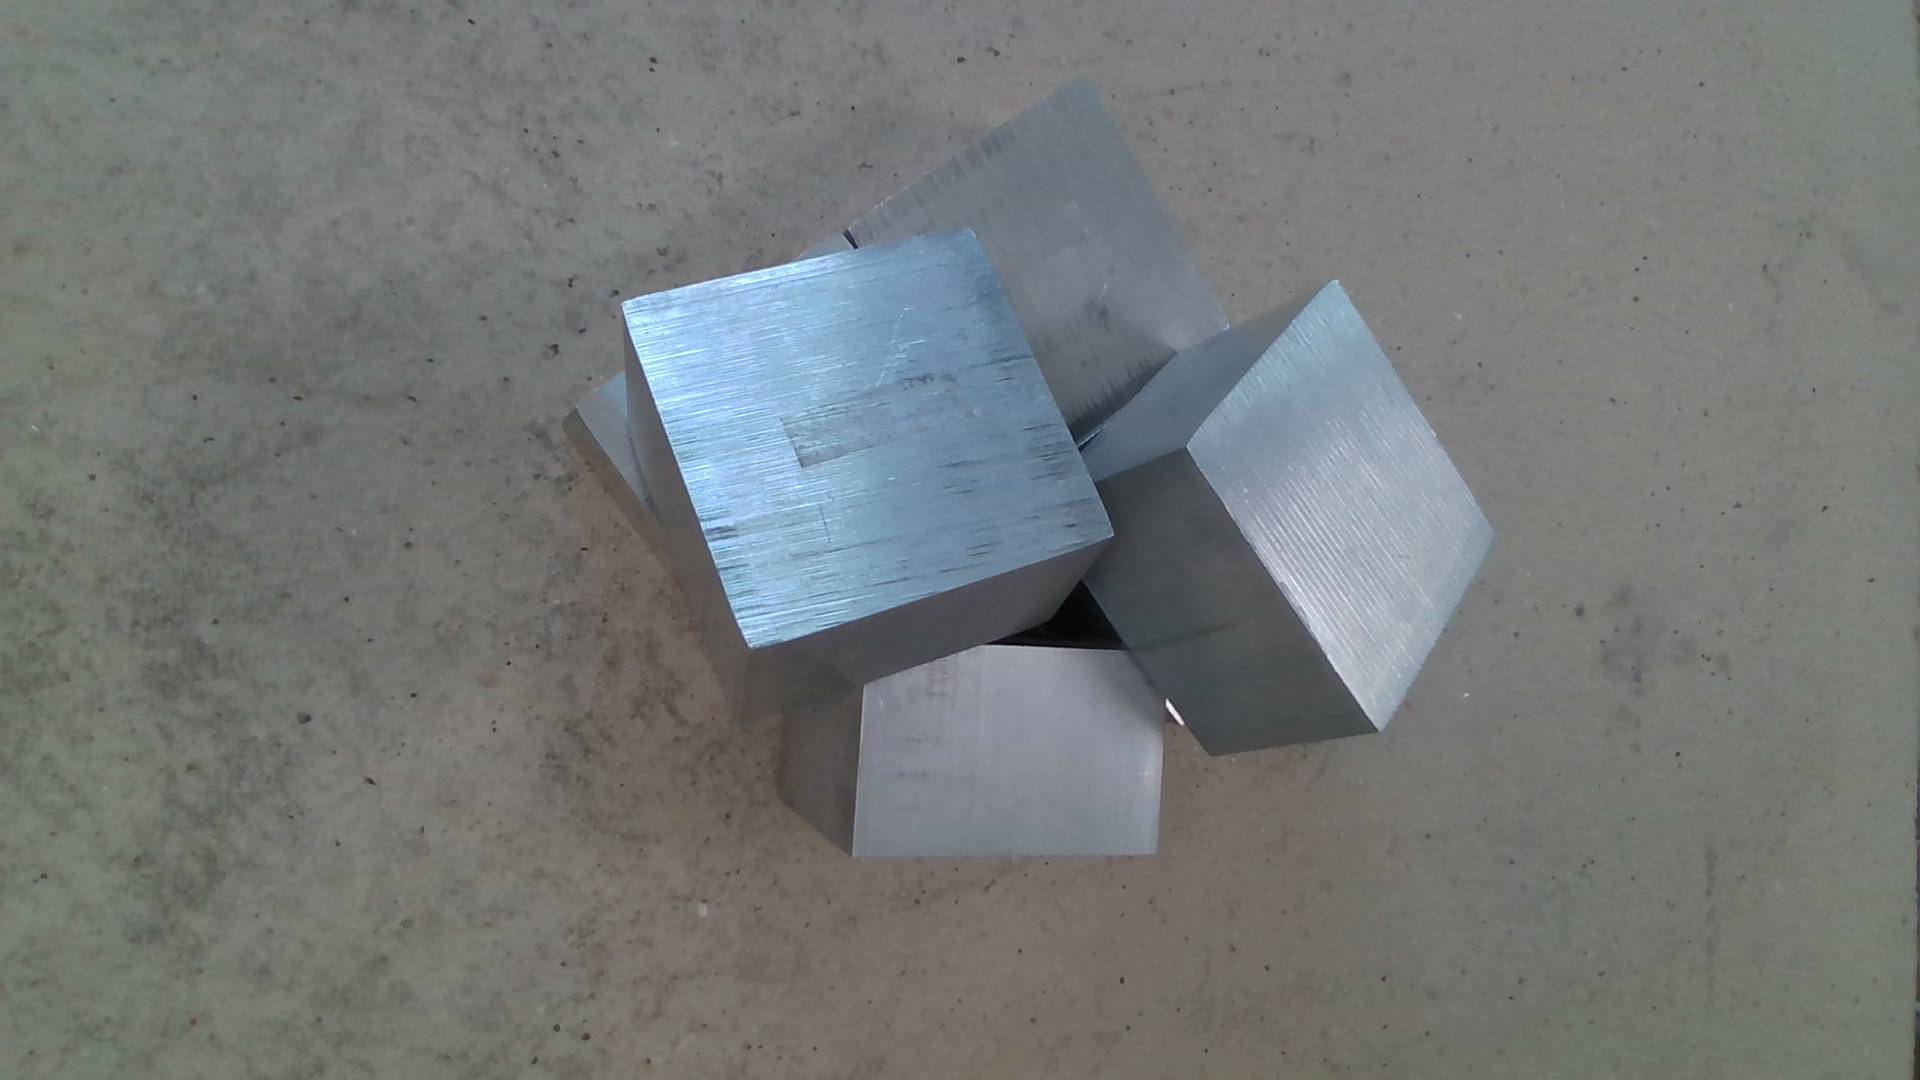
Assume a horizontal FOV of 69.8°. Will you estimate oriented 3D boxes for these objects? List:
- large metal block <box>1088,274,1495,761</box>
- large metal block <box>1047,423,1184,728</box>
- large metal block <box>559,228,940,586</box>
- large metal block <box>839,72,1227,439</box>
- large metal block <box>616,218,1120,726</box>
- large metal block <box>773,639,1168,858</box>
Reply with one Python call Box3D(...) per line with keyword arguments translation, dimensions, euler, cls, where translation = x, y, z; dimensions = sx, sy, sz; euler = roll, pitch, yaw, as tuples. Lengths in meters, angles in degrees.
Box3D(translation=(0.077, -0.005, 0.339), dimensions=(0.080, 0.050, 0.080), euler=(54, 51, -12), cls="large metal block")
Box3D(translation=(0.060, -0.005, 0.402), dimensions=(0.080, 0.050, 0.080), euler=(-38, 103, -16), cls="large metal block")
Box3D(translation=(-0.046, -0.022, 0.365), dimensions=(0.080, 0.050, 0.080), euler=(-37, 102, -16), cls="large metal block")
Box3D(translation=(0.014, -0.069, 0.387), dimensions=(0.080, 0.050, 0.080), euler=(-37, 102, -16), cls="large metal block")
Box3D(translation=(-0.023, -0.015, 0.303), dimensions=(0.080, 0.050, 0.080), euler=(-17, 71, -19), cls="large metal block")
Box3D(translation=(0.000, 0.050, 0.366), dimensions=(0.080, 0.080, 0.050), euler=(4, 88, -20), cls="large metal block")
